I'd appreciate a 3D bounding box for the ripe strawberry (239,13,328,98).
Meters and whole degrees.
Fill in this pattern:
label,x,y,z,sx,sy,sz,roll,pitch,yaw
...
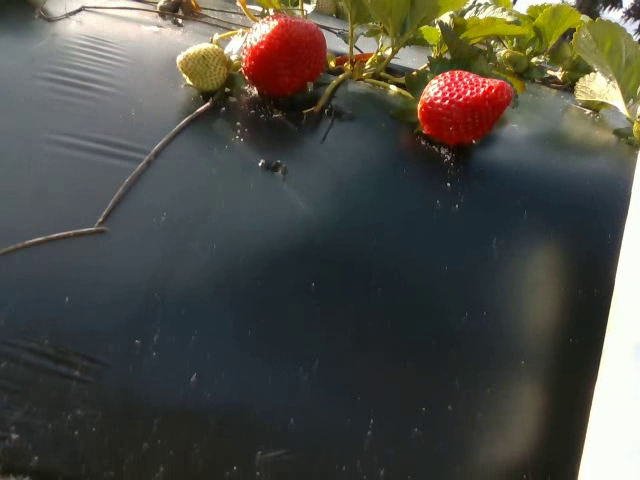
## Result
label,x,y,z,sx,sy,sz,roll,pitch,yaw
ripe strawberry,-0.012,-0.072,0.211,0.035,0.041,0.036,3,1,4

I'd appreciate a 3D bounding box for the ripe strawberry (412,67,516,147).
label,x,y,z,sx,sy,sz,roll,pitch,yaw
ripe strawberry,0.054,-0.052,0.208,0.033,0.038,0.039,33,-11,-9
